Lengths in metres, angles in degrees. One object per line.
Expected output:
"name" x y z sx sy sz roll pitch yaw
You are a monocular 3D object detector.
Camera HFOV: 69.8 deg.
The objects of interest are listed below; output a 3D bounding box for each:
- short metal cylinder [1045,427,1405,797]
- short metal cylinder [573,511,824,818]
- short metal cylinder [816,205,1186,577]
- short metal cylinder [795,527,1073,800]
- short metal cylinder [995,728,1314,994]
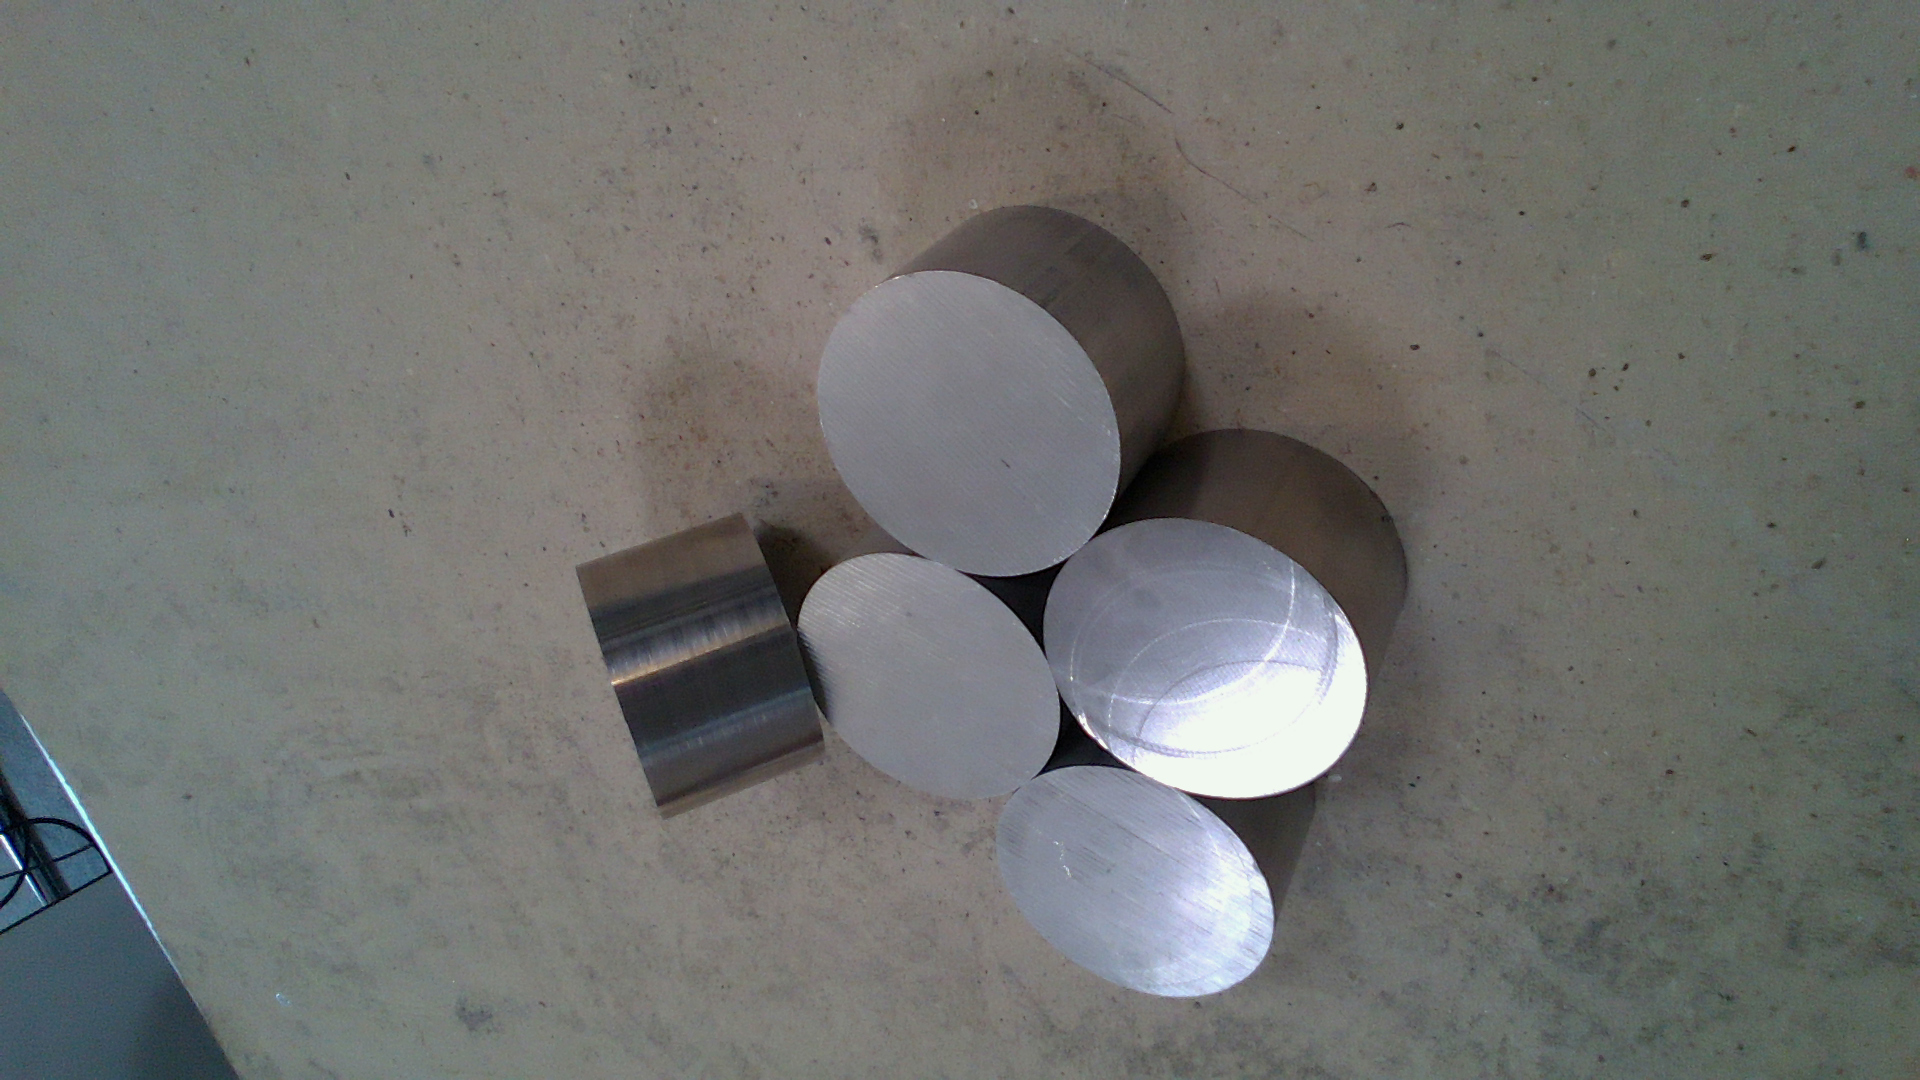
"short metal cylinder" 0.068 0.018 0.351 0.080 0.050 0.080 13 124 21
"short metal cylinder" -0.079 0.037 0.416 0.080 0.050 0.080 160 90 -77
"short metal cylinder" 0.011 -0.038 0.347 0.080 0.050 0.080 13 124 21
"short metal cylinder" 0.000 0.027 0.393 0.080 0.050 0.080 13 124 21
"short metal cylinder" 0.057 0.083 0.398 0.080 0.050 0.080 13 124 21
